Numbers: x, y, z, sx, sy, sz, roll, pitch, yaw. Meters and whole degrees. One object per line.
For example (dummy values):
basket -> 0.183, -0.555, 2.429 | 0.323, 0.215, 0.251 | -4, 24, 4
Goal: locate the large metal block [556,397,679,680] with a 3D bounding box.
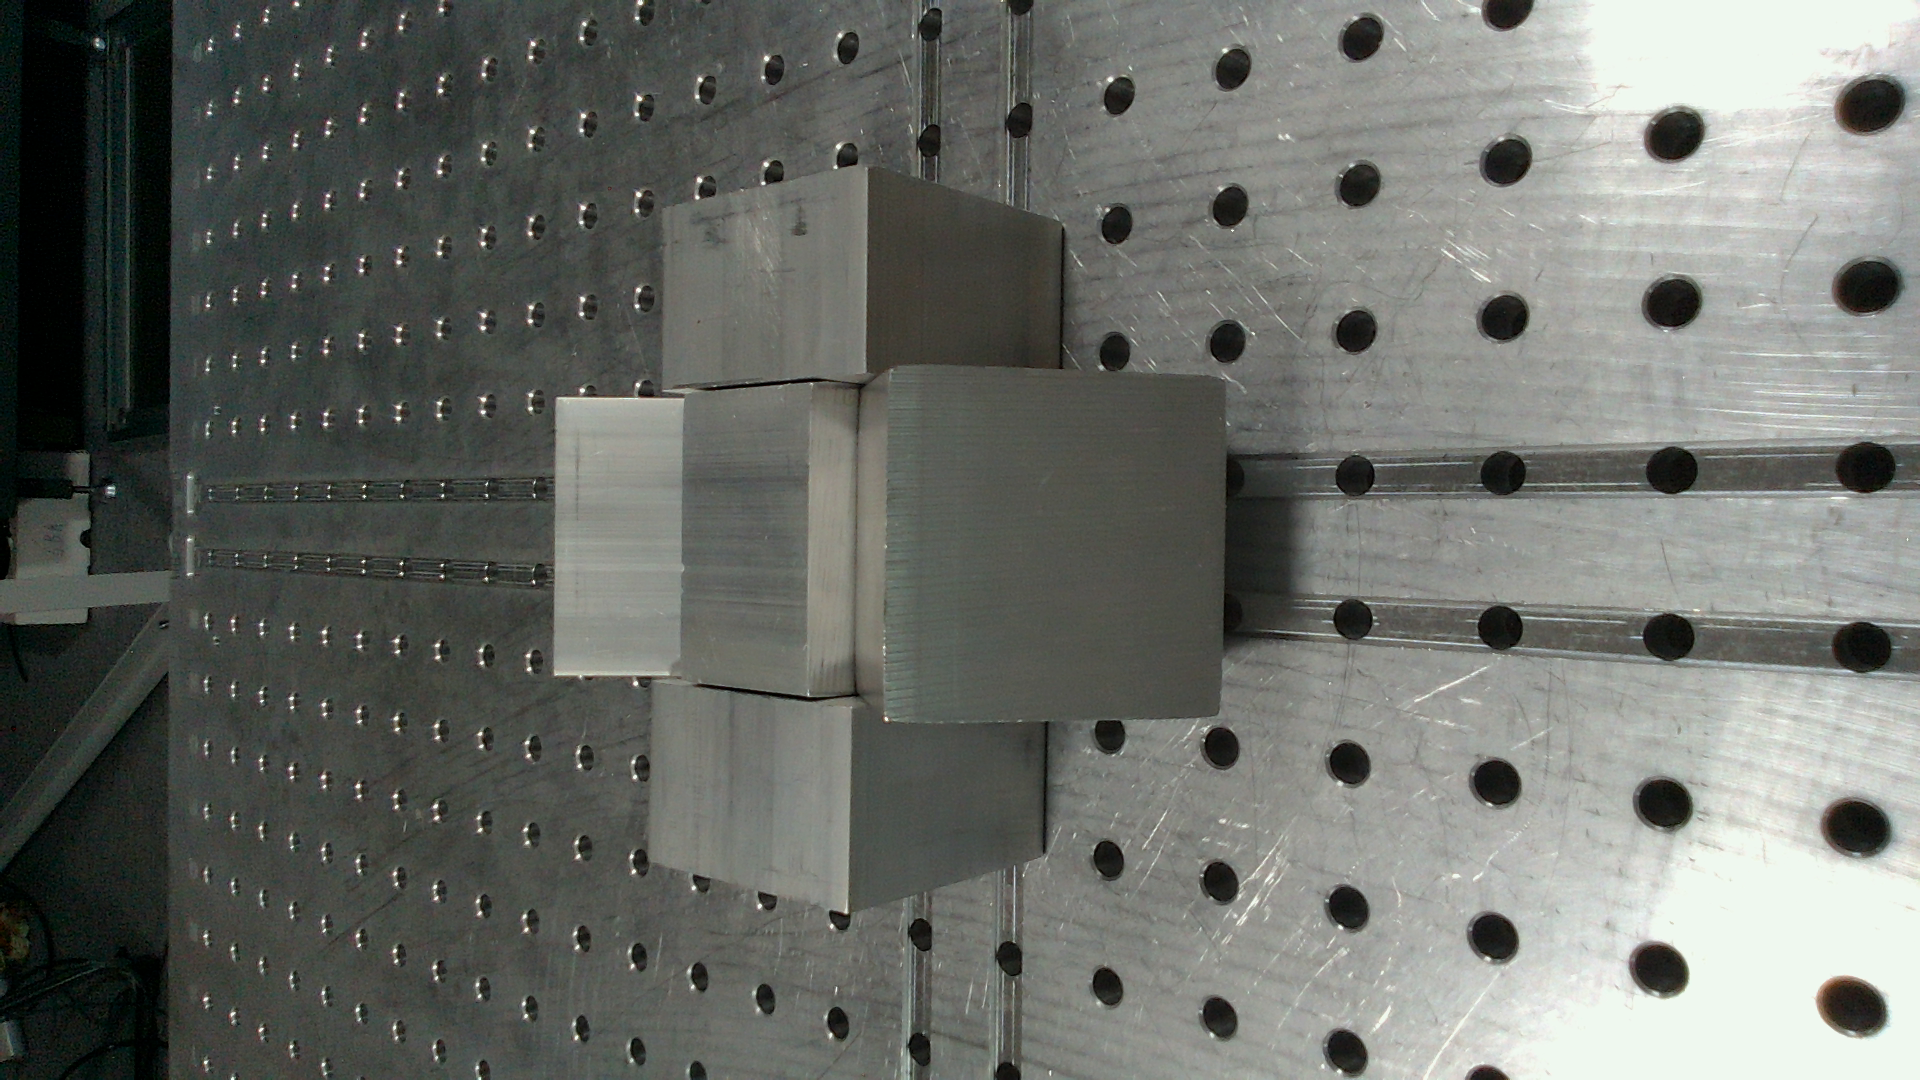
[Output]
large metal block -> -0.088, -0.001, 0.428 | 0.050, 0.080, 0.080 | 0, 91, 1

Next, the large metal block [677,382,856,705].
large metal block -> -0.031, 0.000, 0.387 | 0.050, 0.080, 0.080 | 1, 91, 40

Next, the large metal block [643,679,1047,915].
large metal block -> -0.032, 0.065, 0.387 | 0.080, 0.080, 0.050 | 1, 91, 40

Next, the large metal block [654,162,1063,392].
large metal block -> -0.028, -0.066, 0.384 | 0.080, 0.080, 0.050 | 1, 91, 40

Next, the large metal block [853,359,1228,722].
large metal block -> 0.017, 0.001, 0.336 | 0.050, 0.080, 0.080 | -178, 89, -78
